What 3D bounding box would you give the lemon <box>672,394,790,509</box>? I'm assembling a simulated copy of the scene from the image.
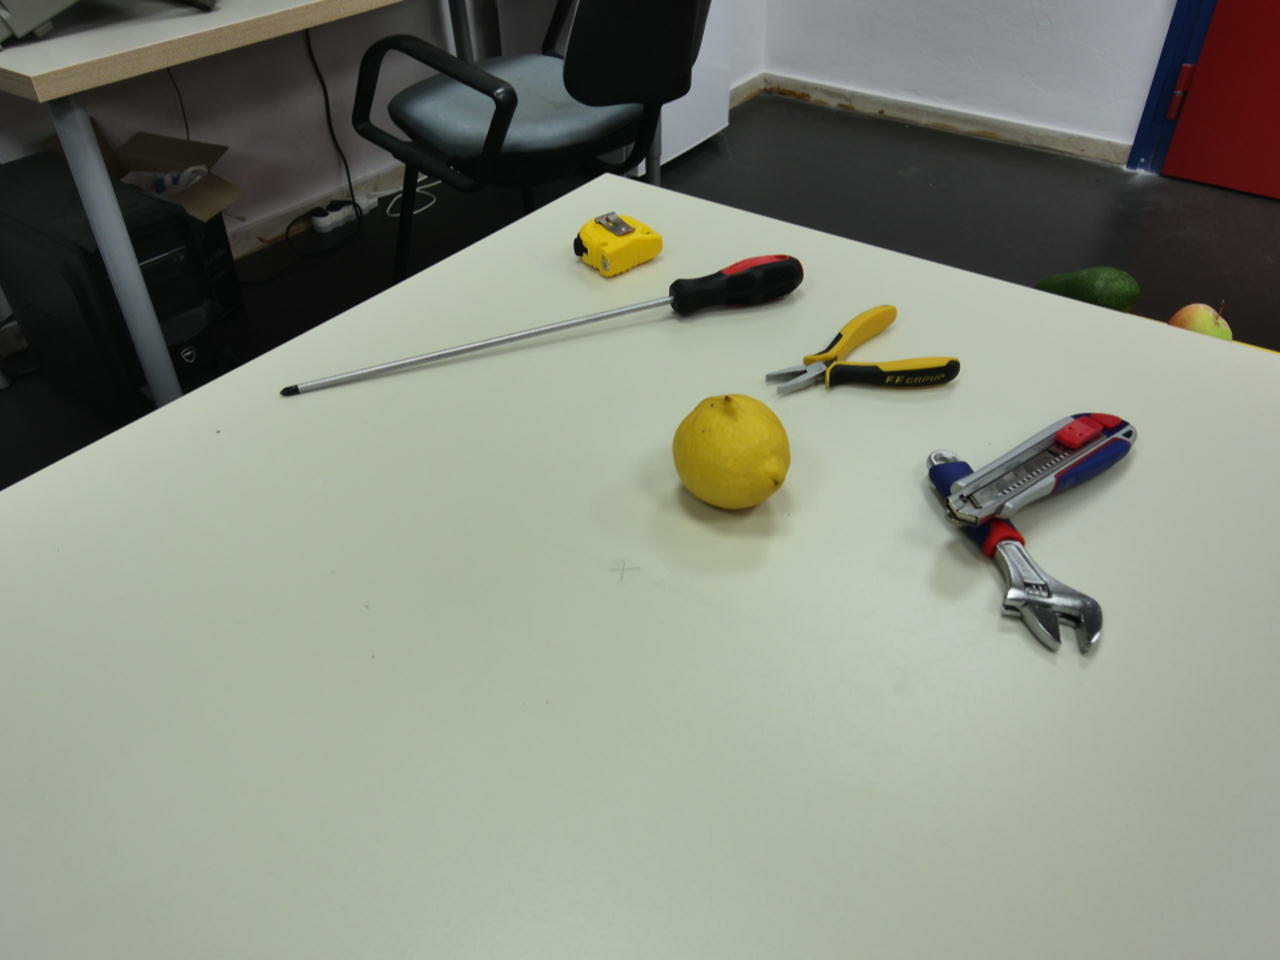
[{"bbox_3d":[0.055,-0.020,0.598,0.070,0.071,0.071,2,38,3],"label":"lemon"}]
